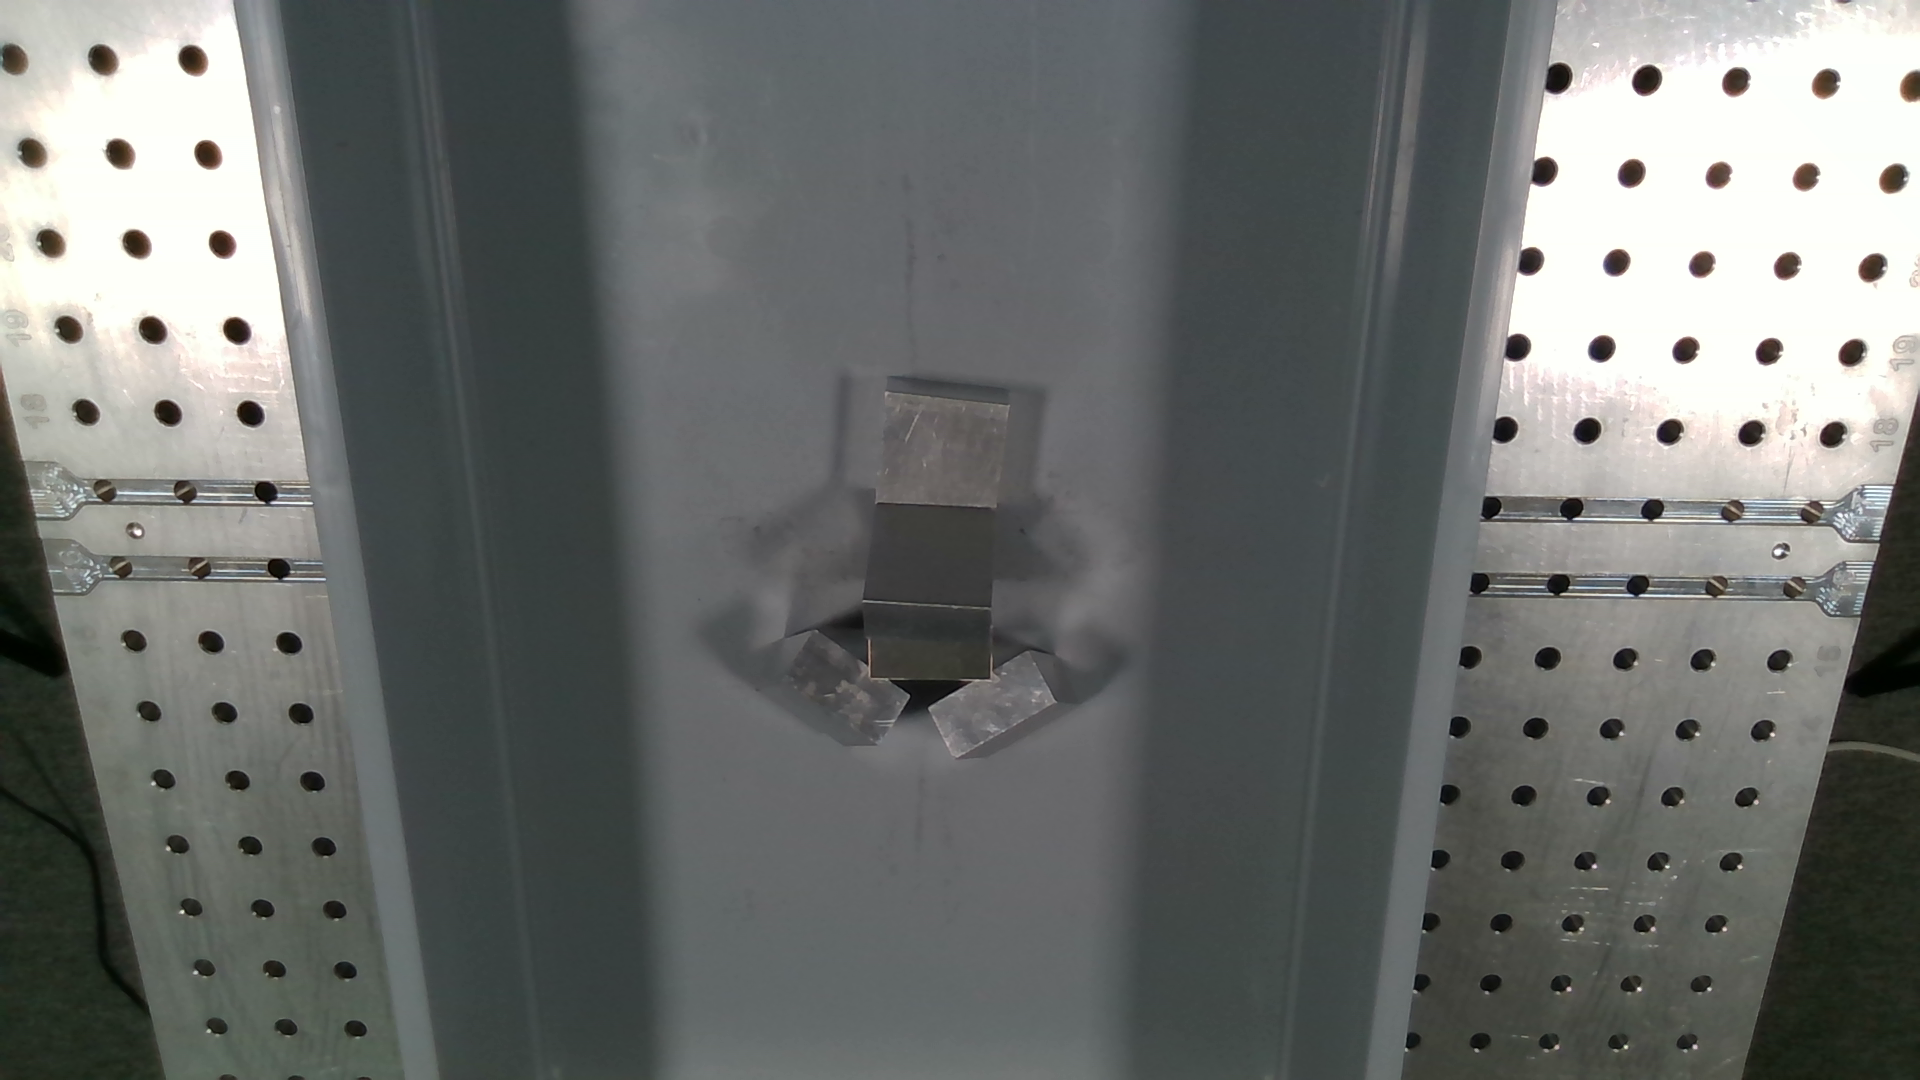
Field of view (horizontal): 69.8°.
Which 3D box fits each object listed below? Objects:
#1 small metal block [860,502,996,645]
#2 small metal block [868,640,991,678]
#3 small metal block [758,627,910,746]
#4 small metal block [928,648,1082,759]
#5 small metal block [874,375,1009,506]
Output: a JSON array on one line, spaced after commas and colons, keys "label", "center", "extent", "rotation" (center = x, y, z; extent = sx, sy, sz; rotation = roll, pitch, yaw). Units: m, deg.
[{"label": "small metal block", "center": [-0.012, 0.013, 0.556], "extent": [0.050, 0.050, 0.025], "rotation": [3, 141, 2]}, {"label": "small metal block", "center": [-0.012, 0.036, 0.584], "extent": [0.050, 0.050, 0.025], "rotation": [1, 110, 0]}, {"label": "small metal block", "center": [-0.056, 0.064, 0.591], "extent": [0.050, 0.050, 0.025], "rotation": [37, 71, -13]}, {"label": "small metal block", "center": [0.020, 0.071, 0.594], "extent": [0.050, 0.050, 0.025], "rotation": [-31, 75, 11]}, {"label": "small metal block", "center": [-0.008, -0.038, 0.568], "extent": [0.050, 0.025, 0.050], "rotation": [6, 110, -2]}]
